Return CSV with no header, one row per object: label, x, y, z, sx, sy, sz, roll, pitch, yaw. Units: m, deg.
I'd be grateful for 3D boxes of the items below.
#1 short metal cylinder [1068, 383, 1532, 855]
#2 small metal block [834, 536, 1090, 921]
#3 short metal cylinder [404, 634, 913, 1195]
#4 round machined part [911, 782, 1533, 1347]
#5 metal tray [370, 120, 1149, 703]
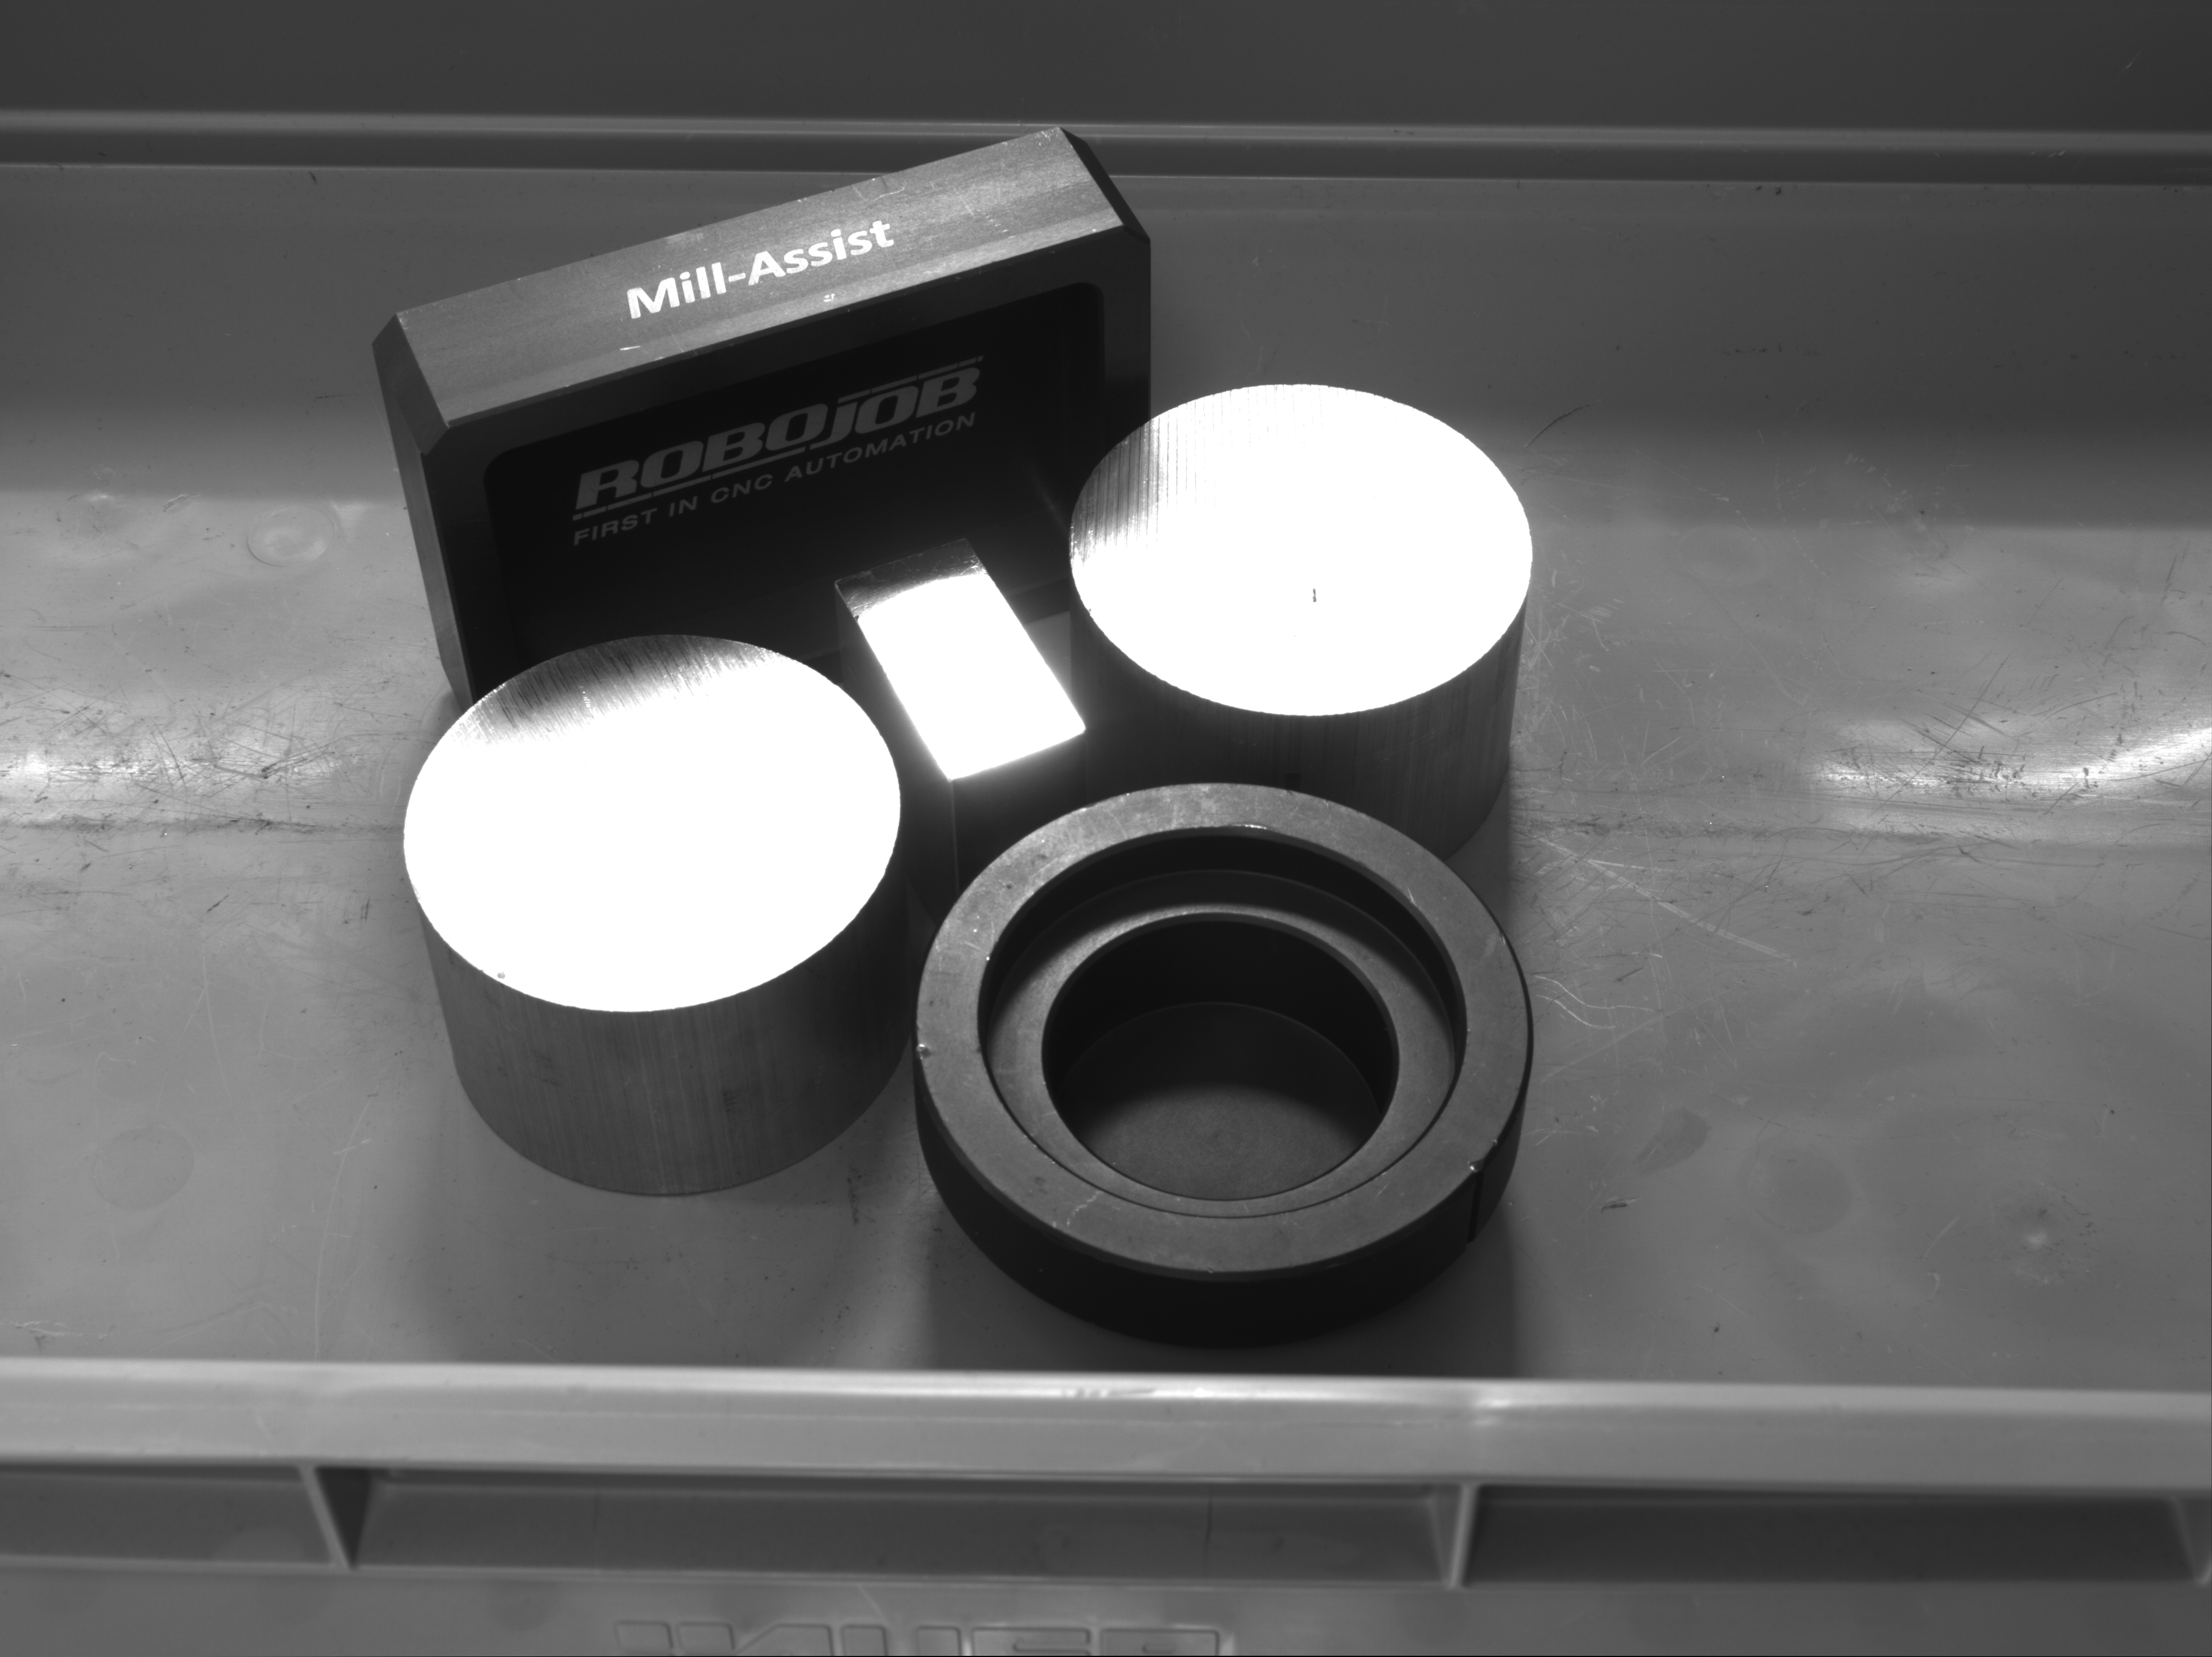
short metal cylinder,0.034,-0.033,0.653,0.080,0.050,0.080,0,50,0
small metal block,-0.024,-0.013,0.635,0.025,0.050,0.050,-20,53,-16
short metal cylinder,-0.073,0.014,0.613,0.080,0.050,0.080,0,50,0
round machined part,0.018,0.042,0.594,0.098,0.042,0.098,0,50,0
metal tray,-0.057,-0.066,0.653,0.130,0.090,0.030,-19,52,-14
